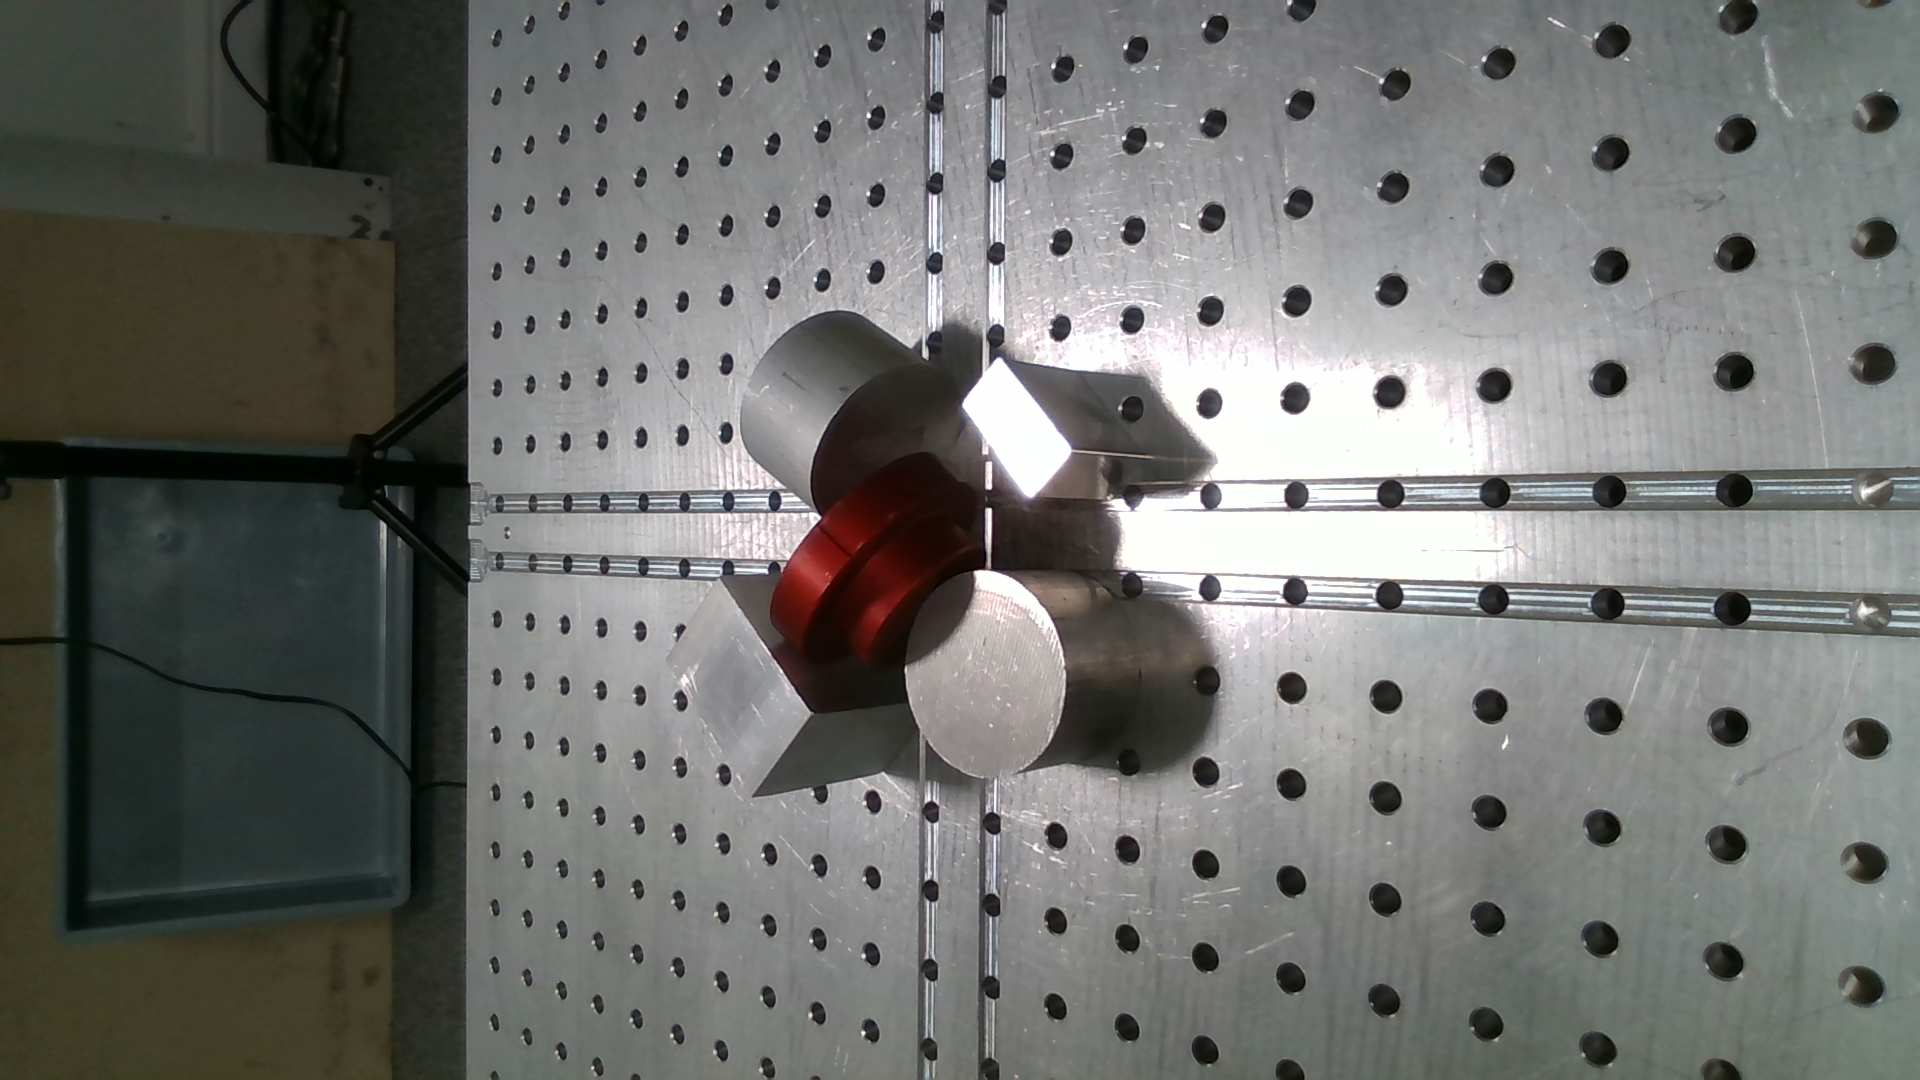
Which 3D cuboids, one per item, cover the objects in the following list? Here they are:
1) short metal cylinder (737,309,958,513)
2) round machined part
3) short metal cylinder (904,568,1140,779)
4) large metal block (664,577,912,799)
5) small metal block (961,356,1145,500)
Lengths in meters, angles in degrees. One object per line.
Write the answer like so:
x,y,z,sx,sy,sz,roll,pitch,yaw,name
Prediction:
-0.047,-0.051,0.588,0.050,0.080,0.080,38,114,33,short metal cylinder
-0.028,0.014,0.562,0.042,0.098,0.098,43,117,18,round machined part
0.024,0.052,0.548,0.080,0.050,0.080,0,91,40,short metal cylinder
-0.070,0.062,0.609,0.080,0.080,0.050,51,120,28,large metal block
0.036,-0.043,0.537,0.025,0.050,0.050,-50,61,29,small metal block
